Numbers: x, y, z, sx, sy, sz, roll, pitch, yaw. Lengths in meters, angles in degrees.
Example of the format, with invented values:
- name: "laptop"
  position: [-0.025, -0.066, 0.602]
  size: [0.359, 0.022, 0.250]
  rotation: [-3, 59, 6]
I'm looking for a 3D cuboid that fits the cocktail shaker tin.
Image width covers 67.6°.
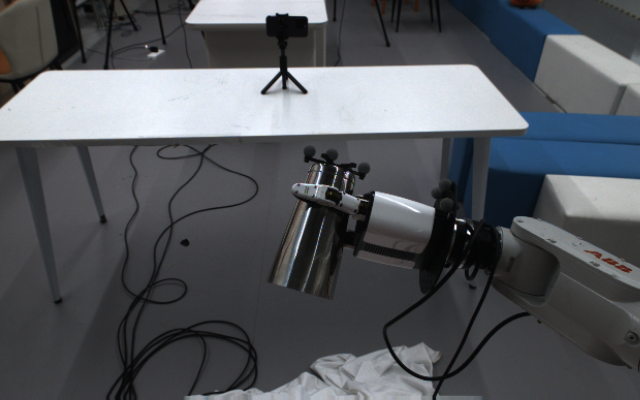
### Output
- name: "cocktail shaker tin"
  position: [-0.002, 0.038, 0.659]
  size: [0.093, 0.093, 0.170]
  rotation: [13, 79, 15]
